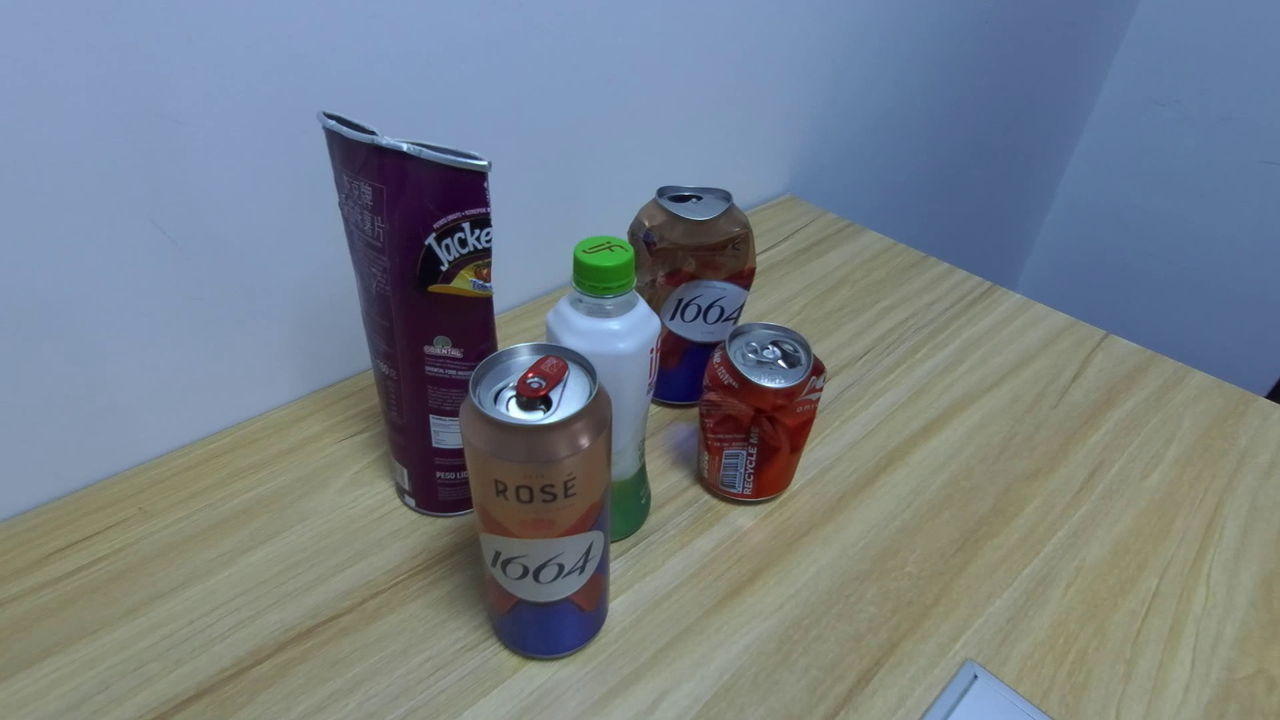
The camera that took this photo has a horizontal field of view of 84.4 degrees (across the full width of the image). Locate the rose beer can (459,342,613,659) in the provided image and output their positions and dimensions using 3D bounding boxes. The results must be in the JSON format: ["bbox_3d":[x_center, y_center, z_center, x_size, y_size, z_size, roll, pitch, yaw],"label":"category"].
[{"bbox_3d":[-0.048,0.078,0.355,0.068,0.169,0.068,2,36,-1],"label":"rose beer can"}]

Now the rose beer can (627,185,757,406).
[{"bbox_3d":[0.034,-0.043,0.511,0.074,0.162,0.067,-22,42,-30],"label":"rose beer can"}]

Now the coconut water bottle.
[{"bbox_3d":[-0.022,0.021,0.405,0.063,0.189,0.063,1,36,0],"label":"coconut water bottle"}]

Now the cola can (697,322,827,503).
[{"bbox_3d":[0.072,0.035,0.454,0.069,0.112,0.066,24,43,23],"label":"cola can"}]

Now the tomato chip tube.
[{"bbox_3d":[-0.119,-0.014,0.408,0.078,0.236,0.090,-9,38,-15],"label":"tomato chip tube"}]
